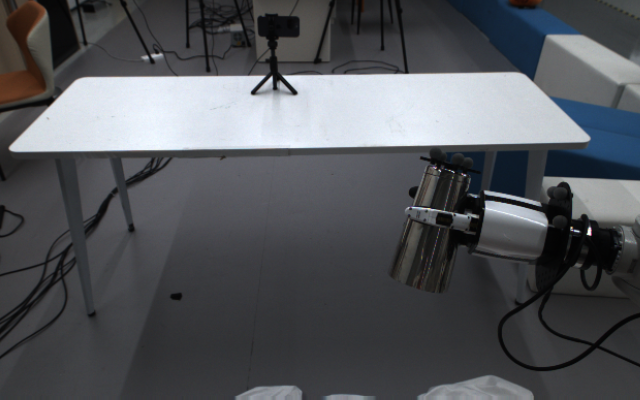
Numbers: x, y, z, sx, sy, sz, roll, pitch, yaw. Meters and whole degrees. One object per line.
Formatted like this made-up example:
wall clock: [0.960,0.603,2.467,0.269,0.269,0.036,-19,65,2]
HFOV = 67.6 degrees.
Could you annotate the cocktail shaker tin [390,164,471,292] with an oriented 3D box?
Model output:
cocktail shaker tin: [0.168,0.039,0.711,0.093,0.170,0.093,14,6,-2]
